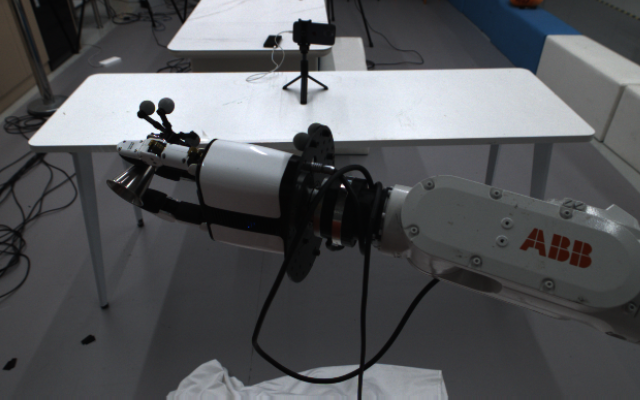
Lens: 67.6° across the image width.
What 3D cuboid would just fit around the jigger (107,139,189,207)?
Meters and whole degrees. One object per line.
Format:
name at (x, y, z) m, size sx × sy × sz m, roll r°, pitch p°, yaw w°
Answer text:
jigger at (-0.190, -0.035, 0.521) m, size 0.043 × 0.043 × 0.071 m, roll 19°, pitch 62°, yaw 23°
